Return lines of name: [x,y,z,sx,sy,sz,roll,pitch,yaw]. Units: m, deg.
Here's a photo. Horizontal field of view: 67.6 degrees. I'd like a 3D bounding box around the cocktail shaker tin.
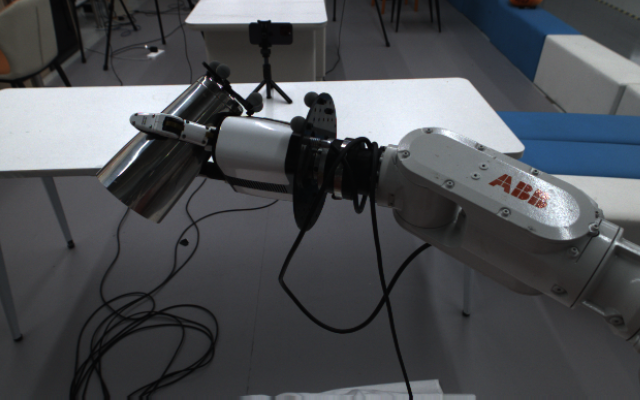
cocktail shaker tin: [-0.173,-0.068,0.585,0.170,0.093,0.093,-48,49,-3]
